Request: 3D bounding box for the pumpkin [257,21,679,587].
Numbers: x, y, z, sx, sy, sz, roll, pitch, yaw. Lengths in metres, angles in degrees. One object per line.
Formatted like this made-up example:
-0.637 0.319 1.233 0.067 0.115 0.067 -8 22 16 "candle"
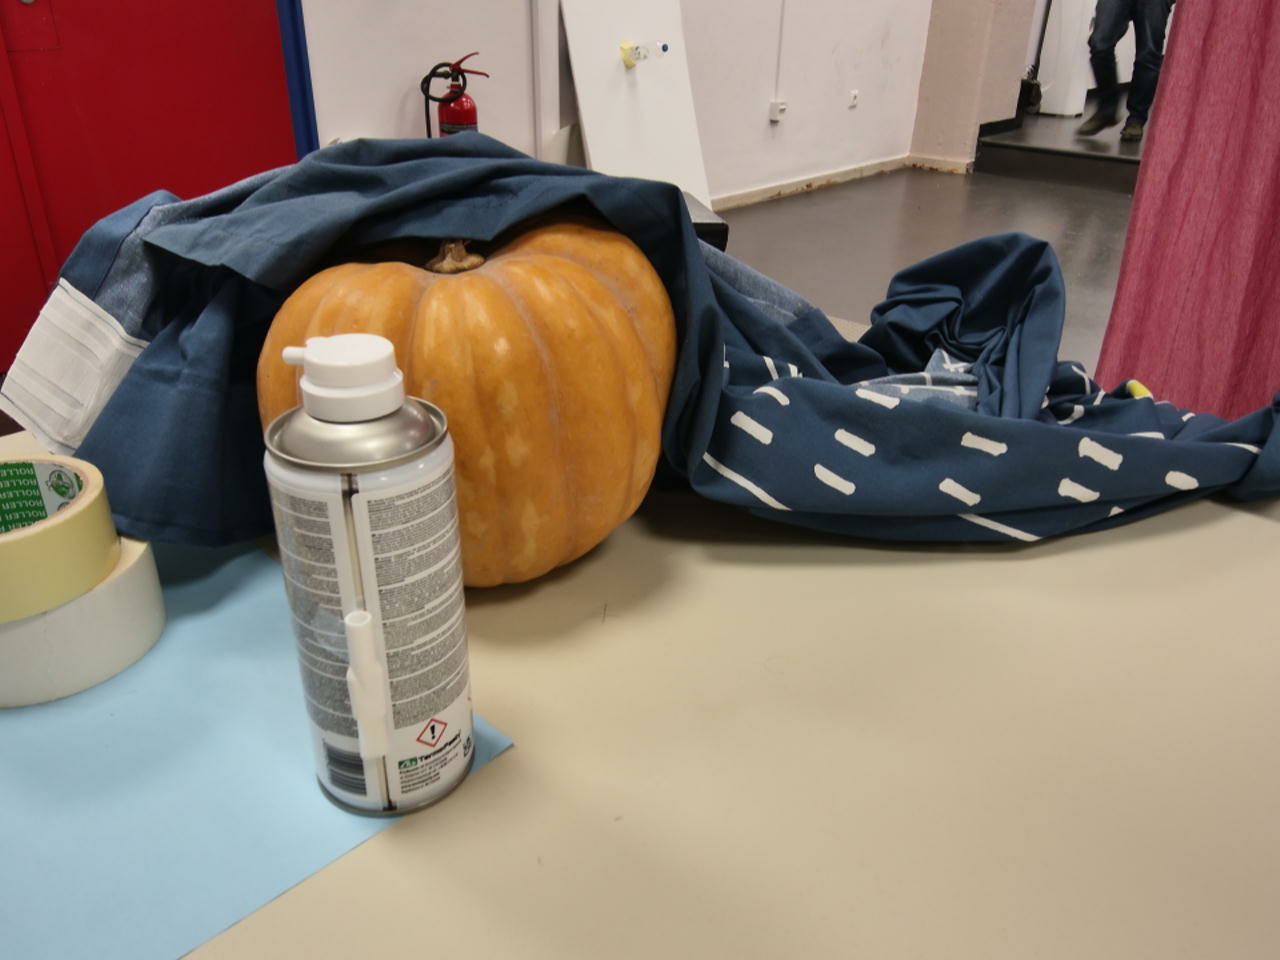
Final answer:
-0.088 -0.048 0.546 0.230 0.194 0.230 0 26 0 "pumpkin"
